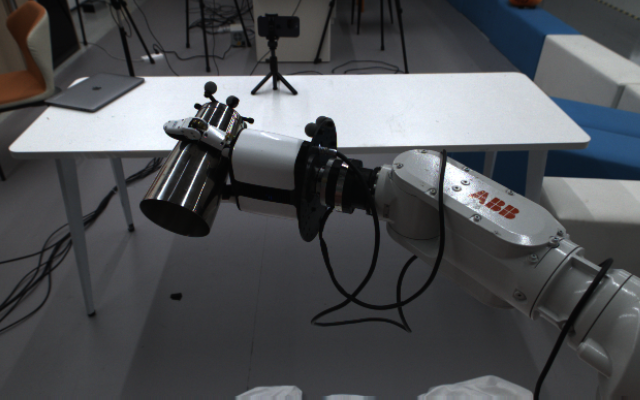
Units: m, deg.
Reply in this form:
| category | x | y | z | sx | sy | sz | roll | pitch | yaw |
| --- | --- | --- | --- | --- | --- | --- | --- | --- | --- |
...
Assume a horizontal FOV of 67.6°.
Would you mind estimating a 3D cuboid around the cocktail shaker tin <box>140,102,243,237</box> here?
| category | x | y | z | sx | sy | sz | roll | pitch | yaw |
| --- | --- | --- | --- | --- | --- | --- | --- | --- | --- |
| cocktail shaker tin | -0.161 | -0.046 | 0.643 | 0.093 | 0.093 | 0.170 | 10 | 60 | 11 |
